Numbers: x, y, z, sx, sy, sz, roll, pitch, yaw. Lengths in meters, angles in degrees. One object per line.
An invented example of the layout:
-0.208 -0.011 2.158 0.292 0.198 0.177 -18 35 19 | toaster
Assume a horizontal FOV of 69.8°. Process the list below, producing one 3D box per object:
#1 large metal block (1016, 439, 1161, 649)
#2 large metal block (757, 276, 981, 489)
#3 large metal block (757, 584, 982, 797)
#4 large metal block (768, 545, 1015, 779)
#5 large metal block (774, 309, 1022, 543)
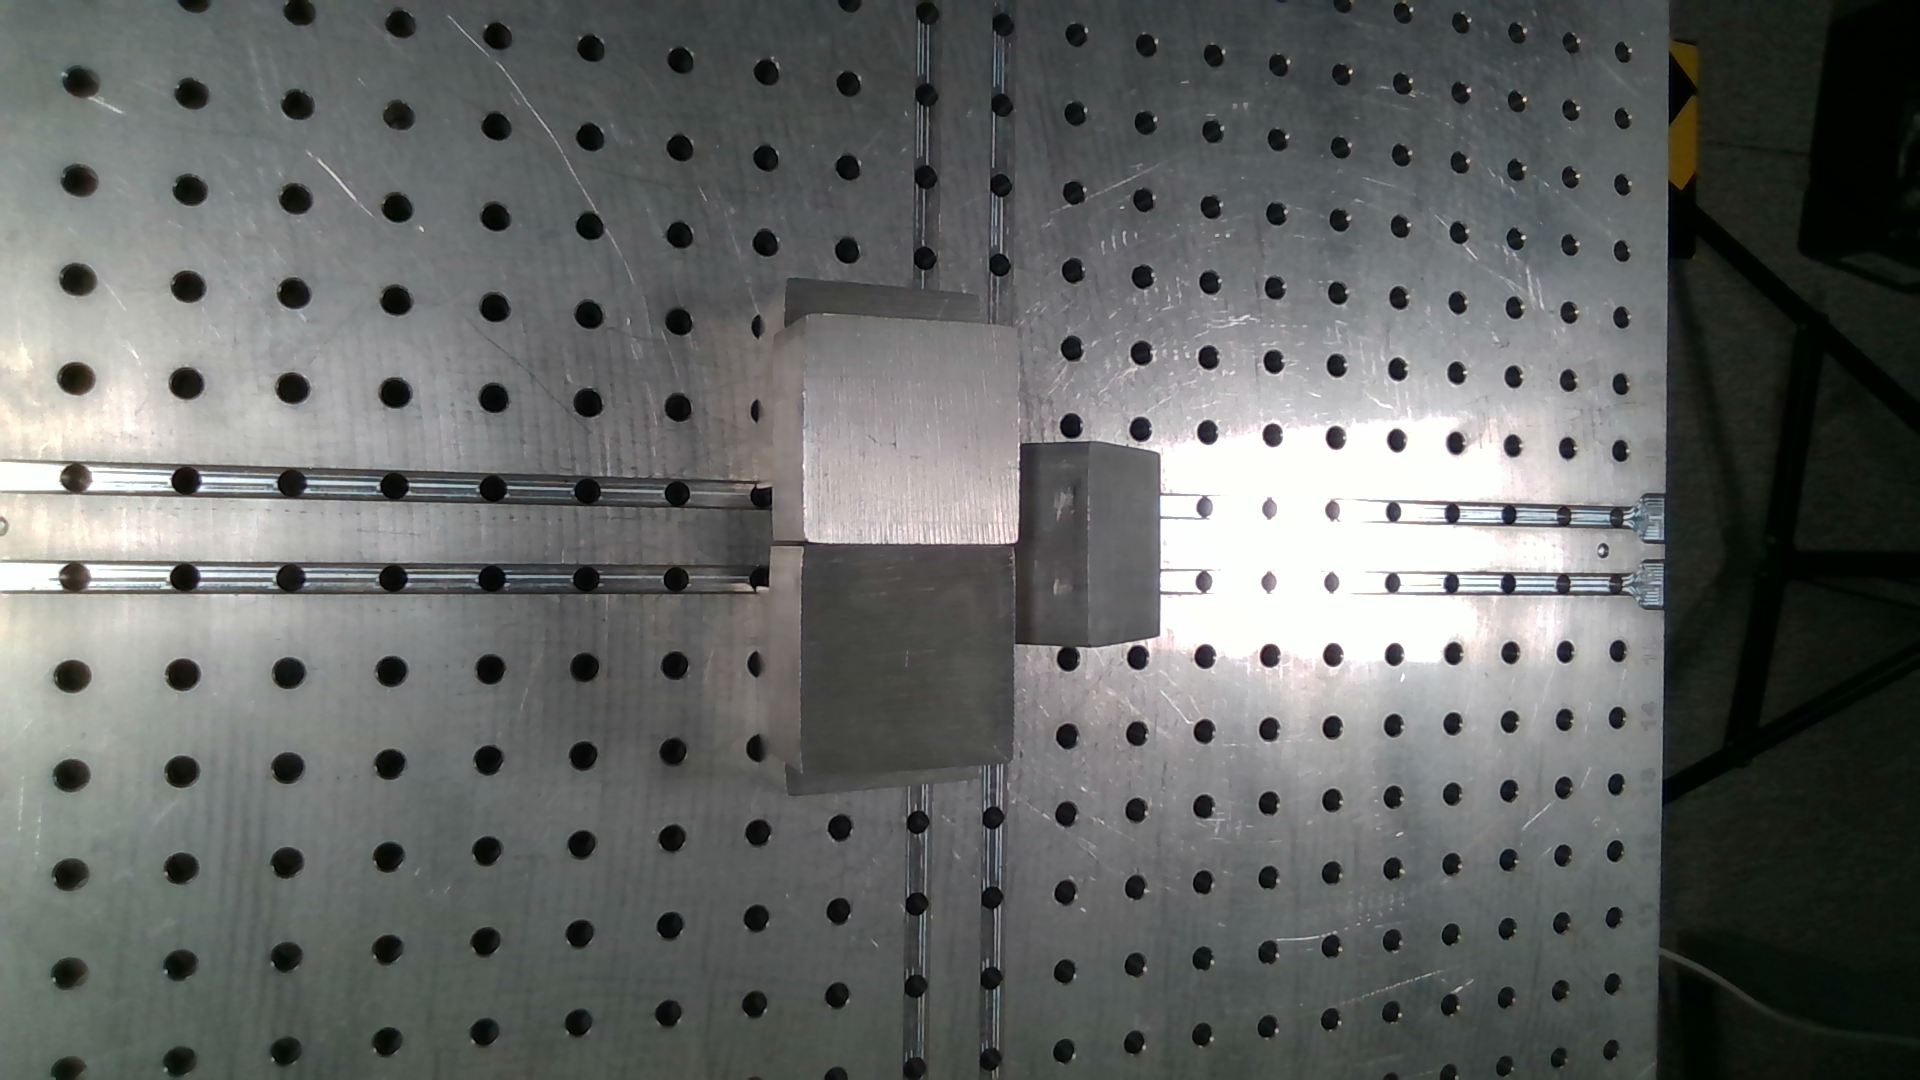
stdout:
0.046 0.002 0.570 0.080 0.050 0.080 0 90 -62 | large metal block
-0.039 -0.060 0.561 0.080 0.050 0.080 1 90 -20 | large metal block
-0.038 0.057 0.561 0.080 0.050 0.080 -1 91 -20 | large metal block
-0.026 0.042 0.510 0.080 0.050 0.080 0 90 -20 | large metal block
-0.024 -0.039 0.510 0.080 0.050 0.080 0 90 -20 | large metal block
